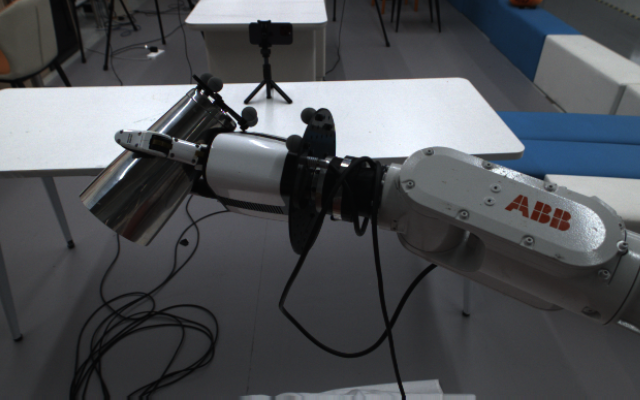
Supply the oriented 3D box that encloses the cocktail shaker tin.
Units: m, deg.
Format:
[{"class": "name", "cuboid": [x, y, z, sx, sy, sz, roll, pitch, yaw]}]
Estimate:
[{"class": "cocktail shaker tin", "cuboid": [-0.175, -0.042, 0.551, 0.170, 0.093, 0.093, -49, 49, -3]}]
